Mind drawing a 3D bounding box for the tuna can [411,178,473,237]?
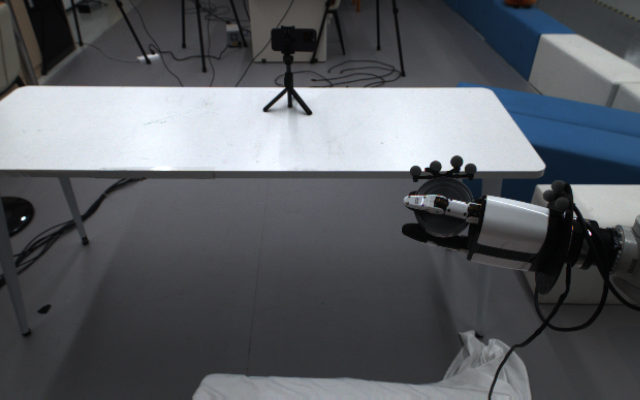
[{"bbox_3d":[0.181,0.009,0.710,0.085,0.034,0.085,-5,70,15],"label":"tuna can"}]
